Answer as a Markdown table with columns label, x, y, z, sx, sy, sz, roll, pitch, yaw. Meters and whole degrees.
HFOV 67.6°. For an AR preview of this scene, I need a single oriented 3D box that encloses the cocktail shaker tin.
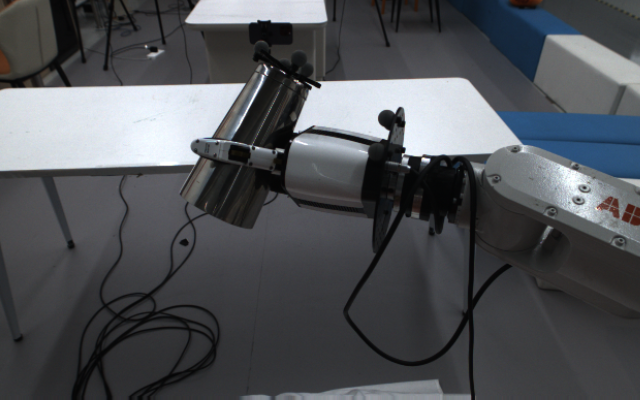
| label | x | y | z | sx | sy | sz | roll | pitch | yaw |
| --- | --- | --- | --- | --- | --- | --- | --- | --- | --- |
| cocktail shaker tin | -0.079 | -0.066 | 0.552 | 0.093 | 0.170 | 0.093 | 27 | 2 | -1 |
